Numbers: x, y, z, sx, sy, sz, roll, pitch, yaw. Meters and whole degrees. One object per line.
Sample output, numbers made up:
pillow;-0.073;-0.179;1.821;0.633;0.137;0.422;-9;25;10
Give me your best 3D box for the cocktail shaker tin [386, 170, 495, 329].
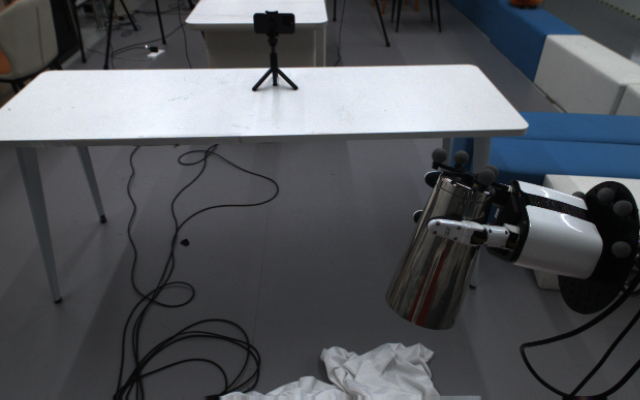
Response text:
cocktail shaker tin;0.150;0.054;0.584;0.093;0.170;0.093;14;18;-5
